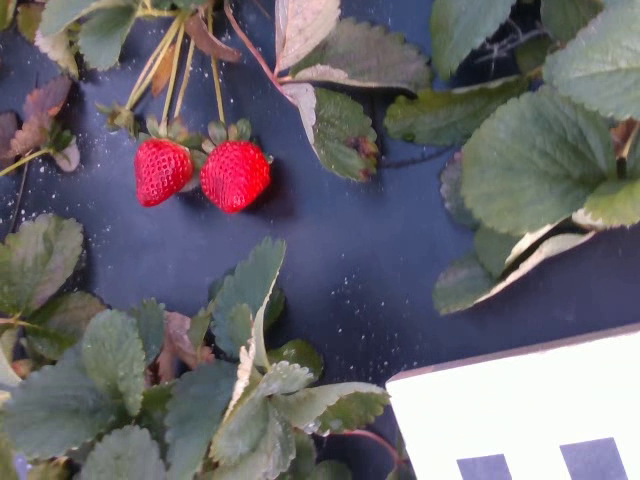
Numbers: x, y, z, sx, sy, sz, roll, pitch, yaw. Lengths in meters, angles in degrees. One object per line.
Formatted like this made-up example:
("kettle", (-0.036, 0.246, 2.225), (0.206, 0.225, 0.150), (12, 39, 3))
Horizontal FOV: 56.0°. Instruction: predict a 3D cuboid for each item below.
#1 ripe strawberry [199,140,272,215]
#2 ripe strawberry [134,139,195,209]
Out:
("ripe strawberry", (-0.061, -0.040, 0.401), (0.057, 0.064, 0.051), (-38, -48, 17))
("ripe strawberry", (-0.116, -0.047, 0.432), (0.048, 0.056, 0.041), (-2, -25, 24))
